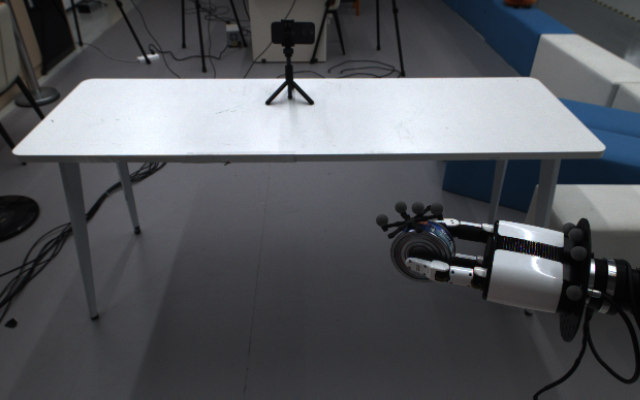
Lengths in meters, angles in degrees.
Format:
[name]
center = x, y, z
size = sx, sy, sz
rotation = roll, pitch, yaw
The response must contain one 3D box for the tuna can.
[tuna can]
center = 0.147, 0.078, 0.672
size = 0.085, 0.085, 0.034
rotation = 15, 30, 17
